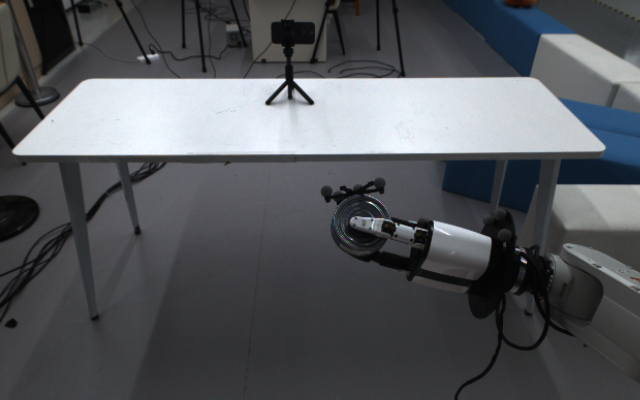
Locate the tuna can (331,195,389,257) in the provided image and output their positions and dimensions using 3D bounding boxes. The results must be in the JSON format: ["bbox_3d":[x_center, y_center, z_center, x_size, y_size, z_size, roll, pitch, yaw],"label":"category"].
[{"bbox_3d":[0.063,0.041,0.691,0.085,0.034,0.085,0,72,-1],"label":"tuna can"}]
